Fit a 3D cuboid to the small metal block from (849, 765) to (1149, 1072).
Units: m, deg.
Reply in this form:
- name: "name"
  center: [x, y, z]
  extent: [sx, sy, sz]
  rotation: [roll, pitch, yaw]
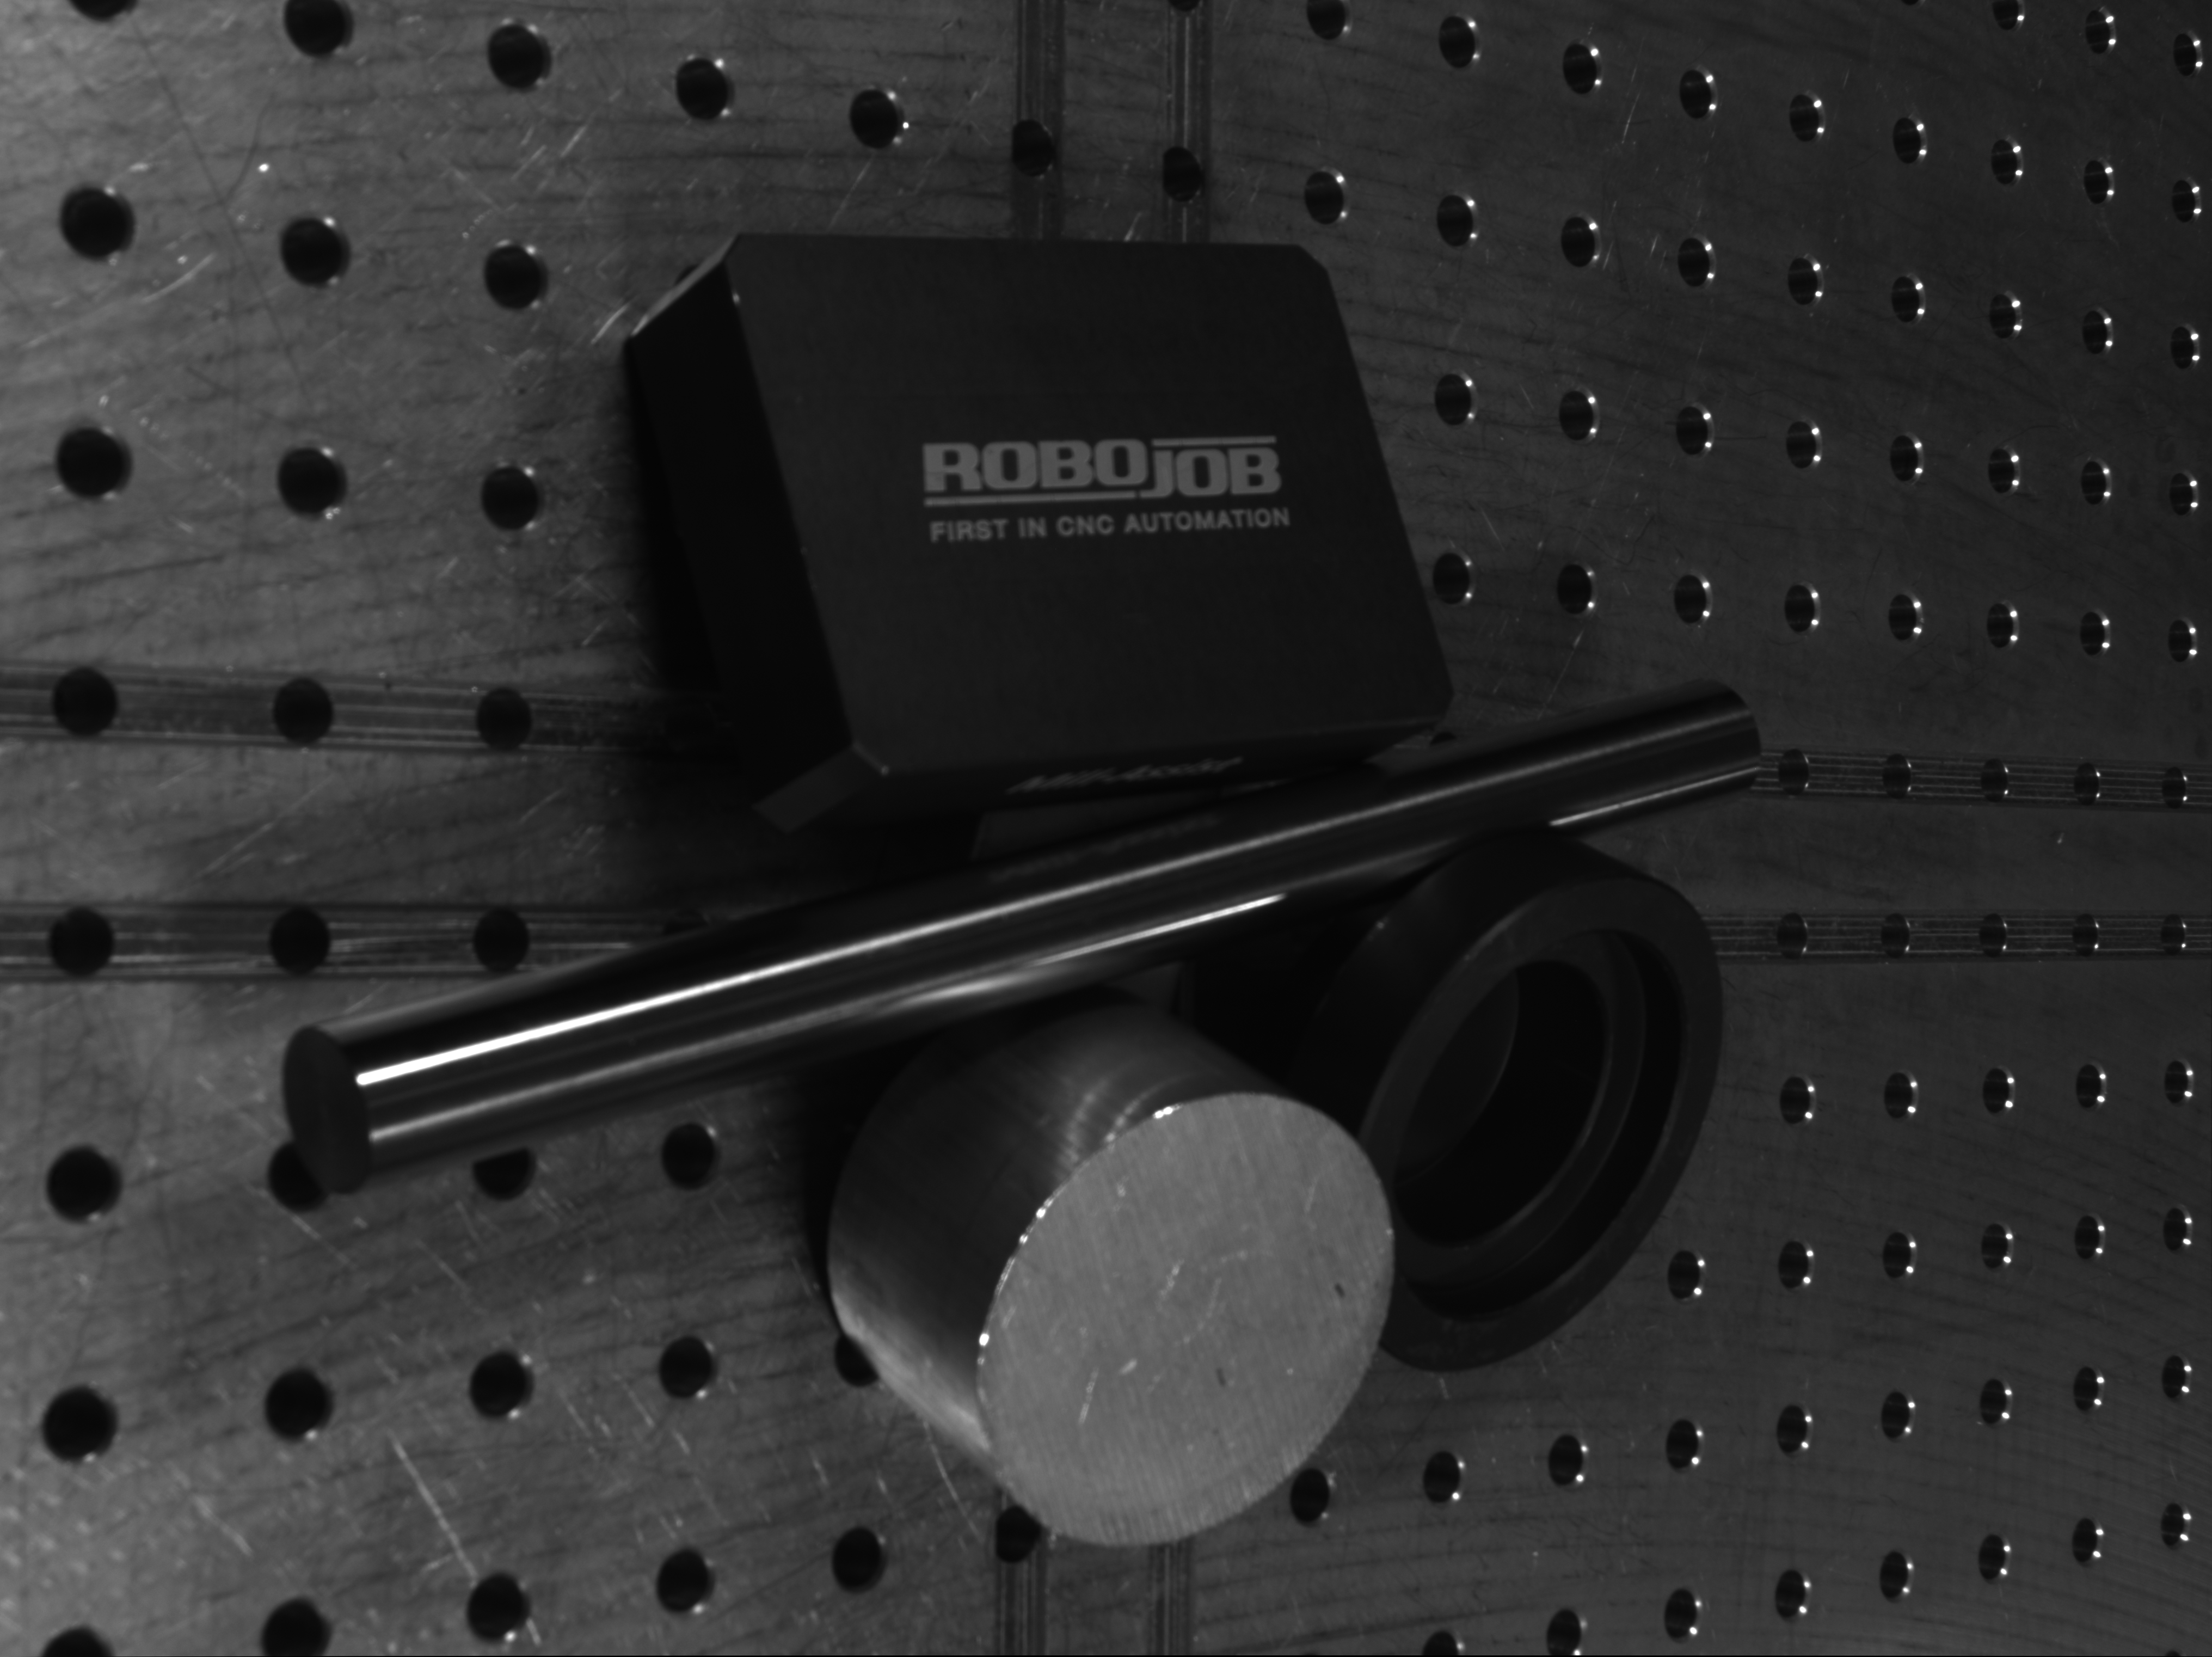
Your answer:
- name: "small metal block"
  center: [-0.019, 0.020, 0.635]
  extent: [0.050, 0.025, 0.050]
  rotation: [23, 75, -37]

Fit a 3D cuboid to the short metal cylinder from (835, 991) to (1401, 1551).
- name: "short metal cylinder"
  center: [0.002, 0.073, 0.610]
  extent: [0.080, 0.050, 0.080]
  rotation: [-13, 115, -30]

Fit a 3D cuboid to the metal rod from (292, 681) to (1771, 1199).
- name: "metal rod"
  center: [0.005, 0.012, 0.611]
  extent: [0.301, 0.025, 0.025]
  rotation: [-14, 99, -39]

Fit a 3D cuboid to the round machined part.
- name: "round machined part"
  center: [0.067, 0.046, 0.670]
  extent: [0.098, 0.042, 0.098]
  rotation: [-22, 126, -34]

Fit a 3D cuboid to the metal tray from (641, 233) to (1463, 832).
- name: "metal tray"
  center: [-0.006, -0.051, 0.614]
  extent: [0.130, 0.030, 0.090]
  rotation: [-6, 75, -40]
